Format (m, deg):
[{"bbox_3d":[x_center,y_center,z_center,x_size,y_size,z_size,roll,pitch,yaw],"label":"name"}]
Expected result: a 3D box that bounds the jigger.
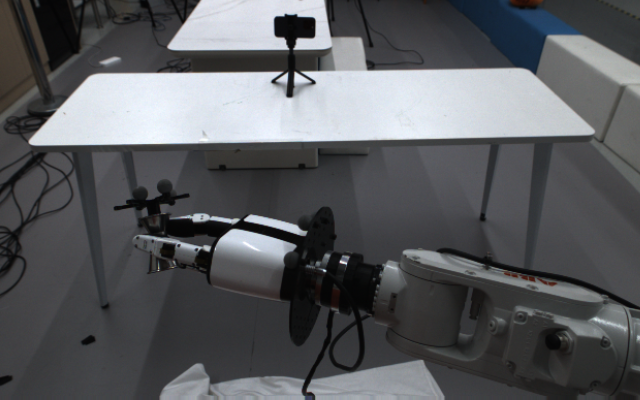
[{"bbox_3d":[-0.193,0.053,0.593,0.043,0.071,0.043,-13,-3,-1],"label":"jigger"}]
